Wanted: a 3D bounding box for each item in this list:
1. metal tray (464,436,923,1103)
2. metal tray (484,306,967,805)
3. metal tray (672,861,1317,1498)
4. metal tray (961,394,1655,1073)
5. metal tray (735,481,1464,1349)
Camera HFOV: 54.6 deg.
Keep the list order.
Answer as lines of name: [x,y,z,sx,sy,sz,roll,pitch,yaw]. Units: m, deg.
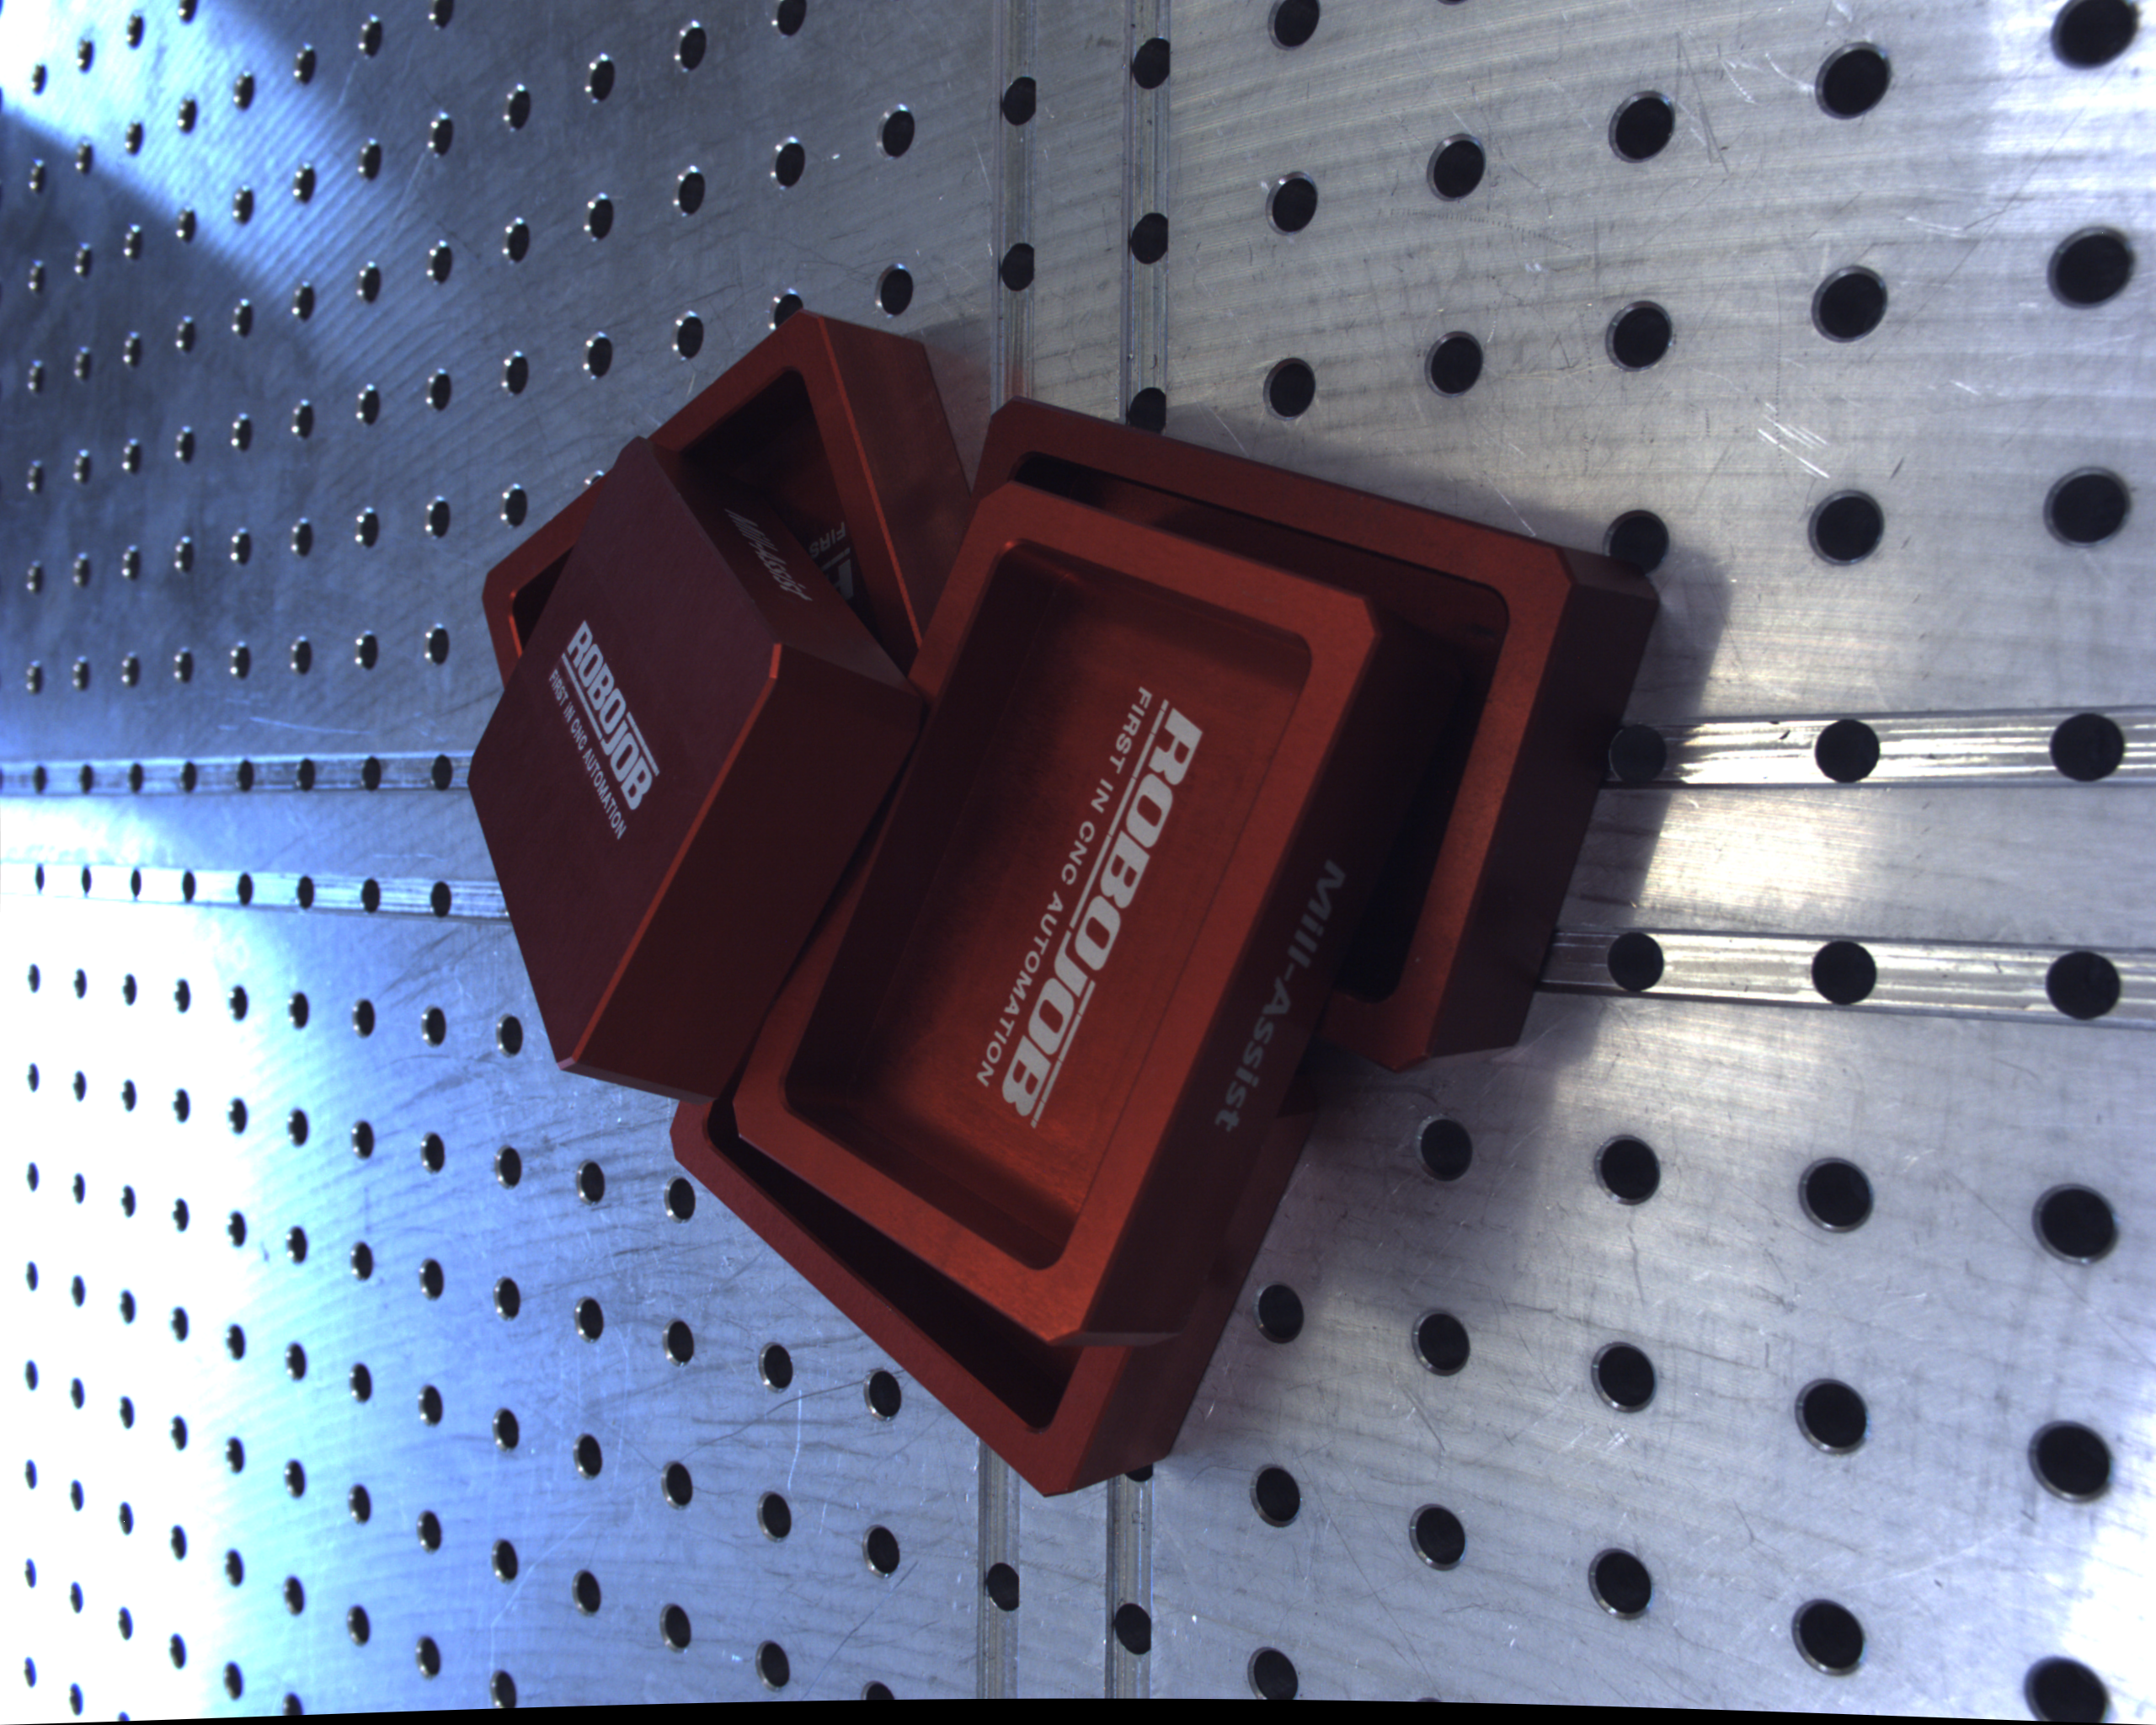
metal tray: [-0.084,-0.023,0.423,0.090,0.030,0.130,-60,34,14]
metal tray: [-0.078,-0.052,0.472,0.130,0.030,0.090,-28,72,37]
metal tray: [-0.023,0.053,0.426,0.130,0.030,0.089,33,110,35]
metal tray: [0.029,-0.027,0.382,0.130,0.030,0.089,25,105,38]
metal tray: [0.000,0.007,0.366,0.090,0.030,0.129,26,94,37]
